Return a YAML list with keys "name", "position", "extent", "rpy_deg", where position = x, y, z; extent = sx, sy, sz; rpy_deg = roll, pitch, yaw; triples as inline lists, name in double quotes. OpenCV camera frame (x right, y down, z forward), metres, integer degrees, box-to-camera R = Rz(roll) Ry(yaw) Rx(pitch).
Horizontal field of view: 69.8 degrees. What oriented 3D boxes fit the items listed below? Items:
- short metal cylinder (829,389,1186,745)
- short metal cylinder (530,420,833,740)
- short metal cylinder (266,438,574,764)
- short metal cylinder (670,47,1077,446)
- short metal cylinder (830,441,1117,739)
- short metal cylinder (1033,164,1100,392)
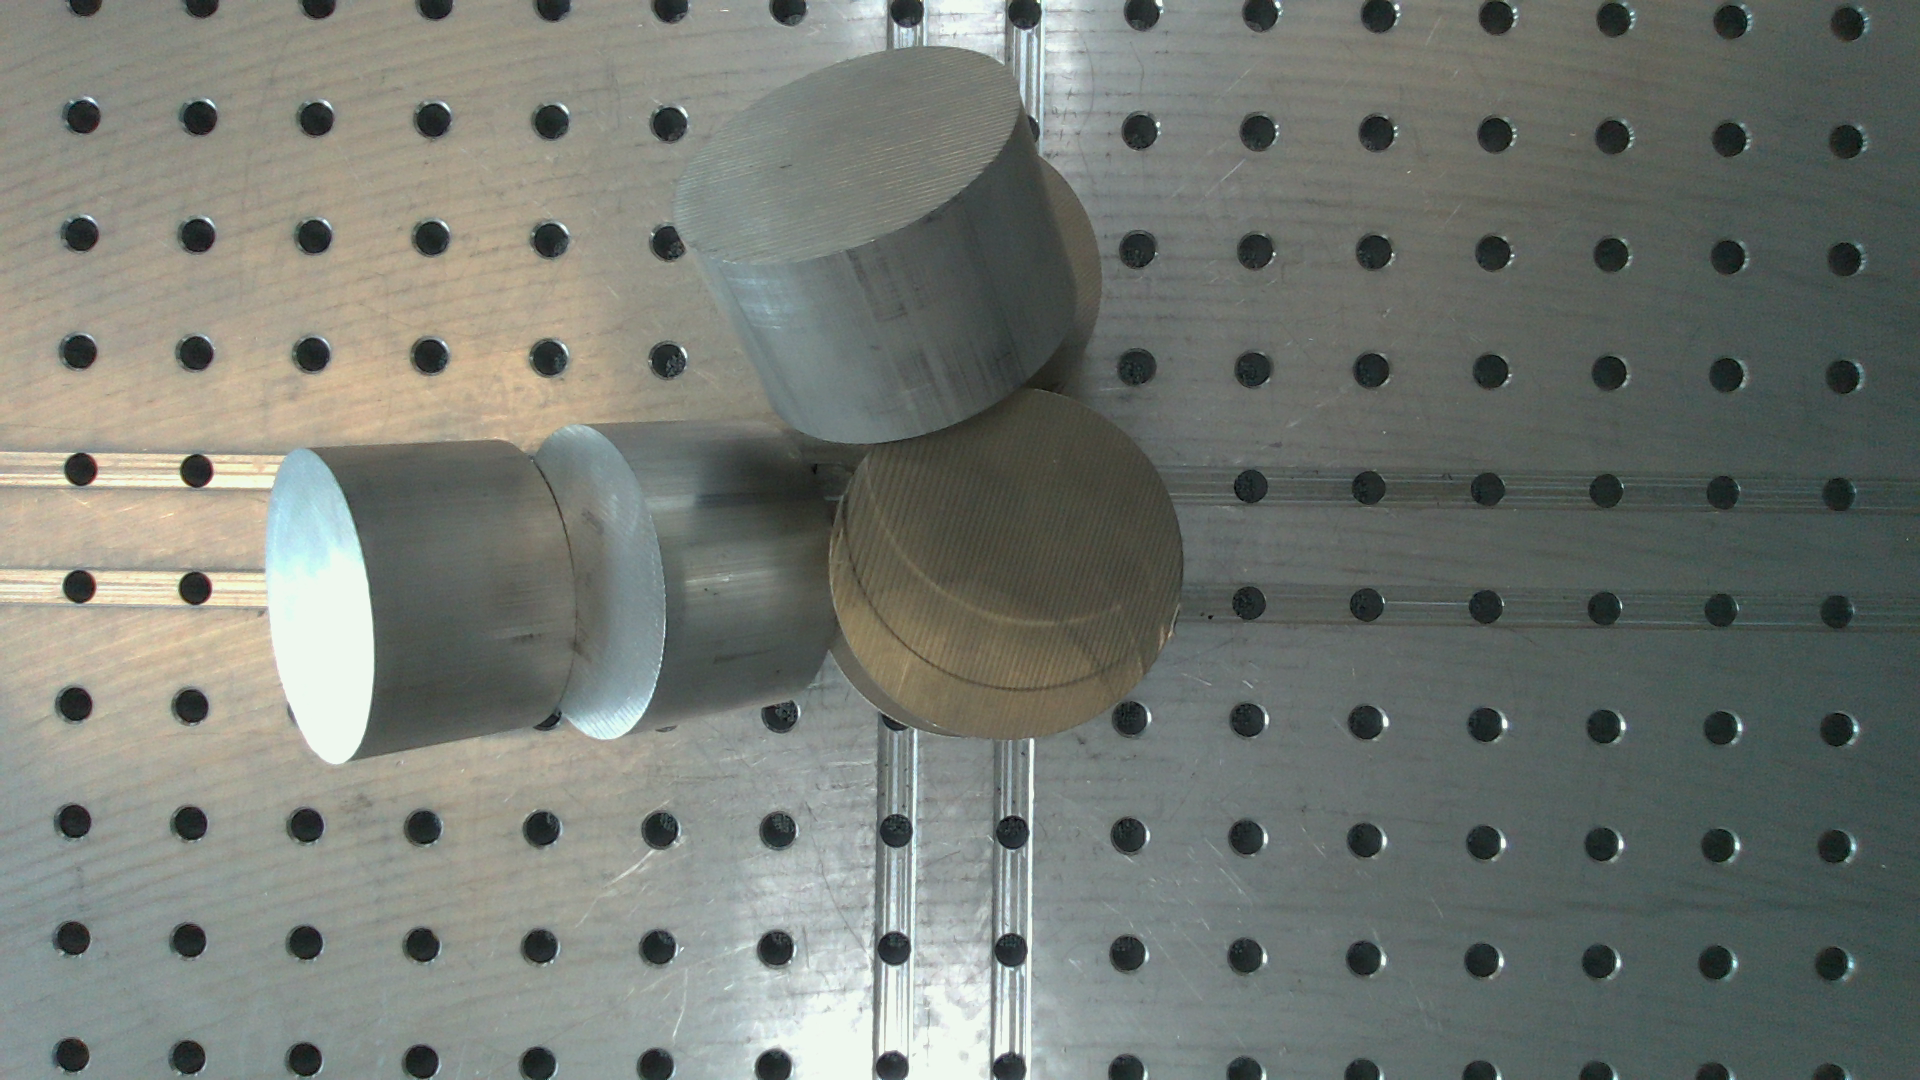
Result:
- name: "short metal cylinder"
  position: [0.011, 0.006, 0.334]
  extent: [0.080, 0.050, 0.080]
  rpy_deg: [0, 90, 0]
- name: "short metal cylinder"
  position: [-0.076, 0.008, 0.363]
  extent: [0.050, 0.080, 0.080]
  rpy_deg: [-7, 90, -41]
- name: "short metal cylinder"
  position: [-0.144, 0.014, 0.363]
  extent: [0.050, 0.080, 0.080]
  rpy_deg: [-8, 90, -42]
- name: "short metal cylinder"
  position: [-0.018, -0.068, 0.313]
  extent: [0.080, 0.080, 0.050]
  rpy_deg: [-24, 133, 0]
- name: "short metal cylinder"
  position: [0.002, 0.012, 0.385]
  extent: [0.080, 0.050, 0.080]
  rpy_deg: [0, 90, 0]
- name: "short metal cylinder"
  position: [-0.003, -0.069, 0.385]
  extent: [0.080, 0.050, 0.080]
  rpy_deg: [0, 90, 0]
